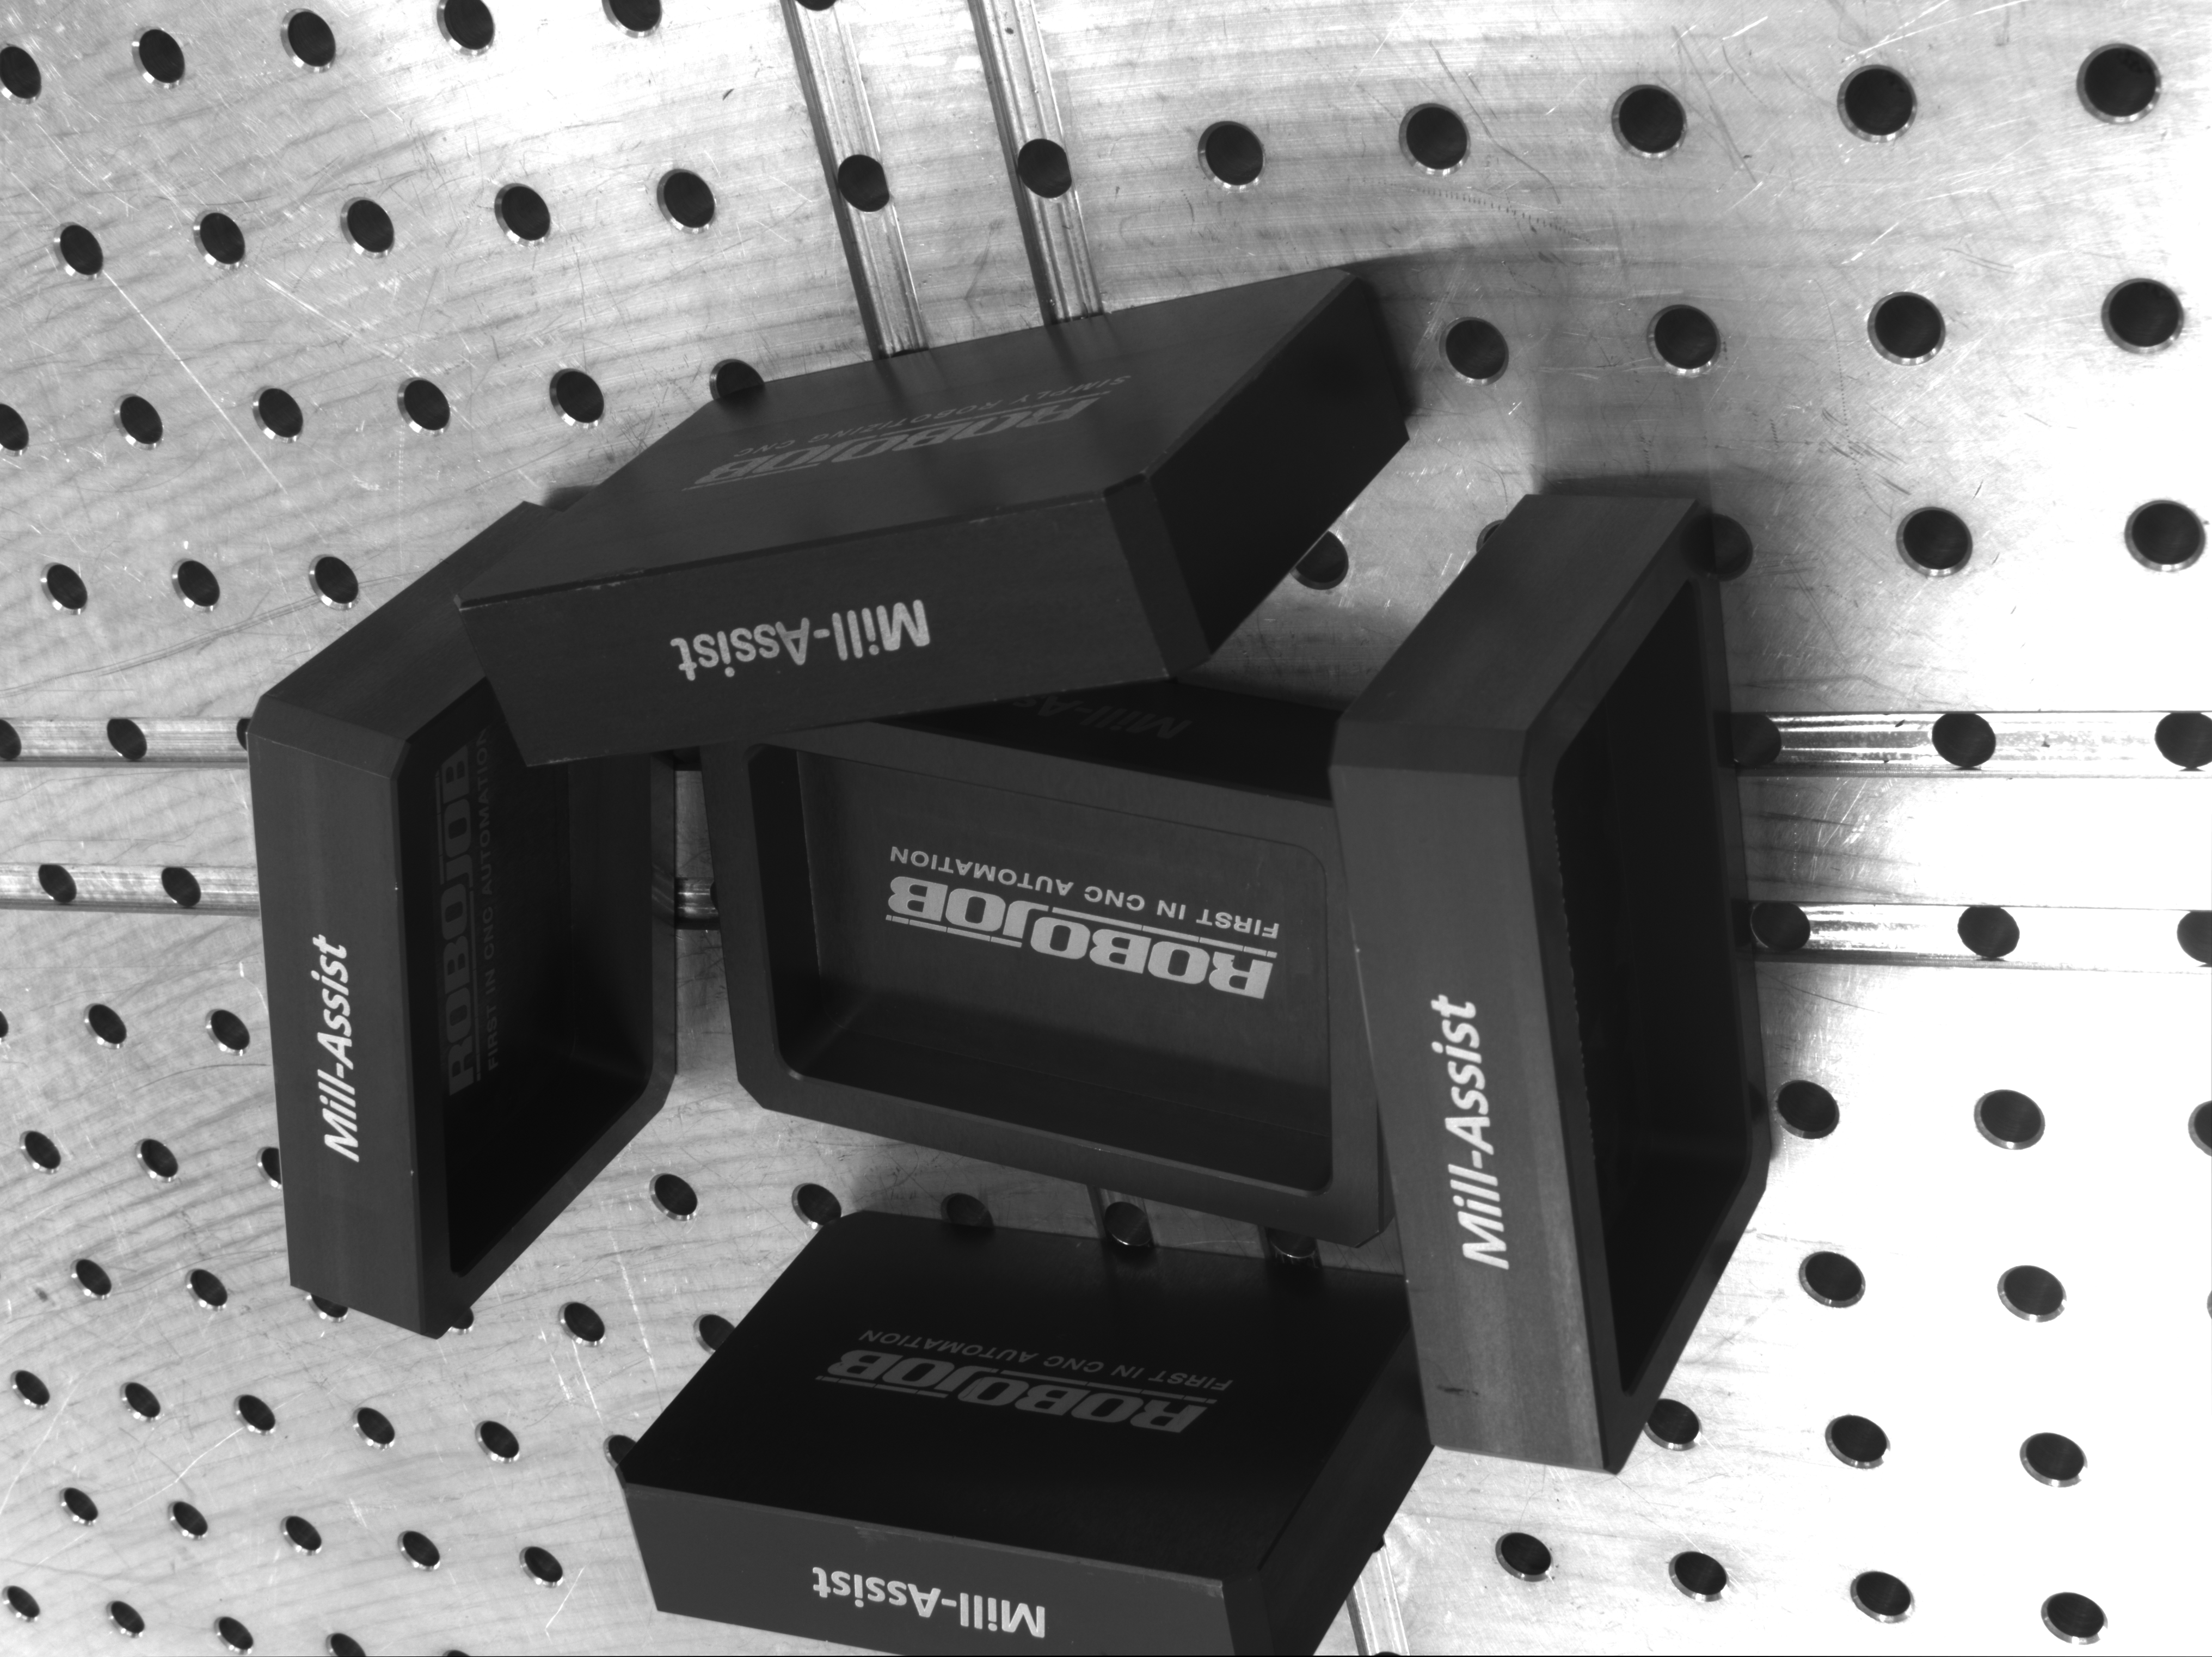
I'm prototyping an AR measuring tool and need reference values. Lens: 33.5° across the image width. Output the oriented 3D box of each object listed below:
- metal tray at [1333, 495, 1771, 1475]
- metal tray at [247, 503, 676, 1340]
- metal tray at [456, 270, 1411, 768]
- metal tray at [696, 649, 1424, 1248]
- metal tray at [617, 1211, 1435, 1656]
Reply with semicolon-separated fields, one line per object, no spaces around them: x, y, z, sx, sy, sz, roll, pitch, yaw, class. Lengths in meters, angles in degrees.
0.074;0.024;0.579;0.030;0.090;0.130;4;120;26;metal tray
-0.115;0.017;0.677;0.030;0.090;0.130;17;125;19;metal tray
-0.028;-0.049;0.588;0.130;0.090;0.030;-6;115;31;metal tray
-0.006;0.018;0.657;0.130;0.030;0.090;11;123;22;metal tray
-0.012;0.114;0.681;0.130;0.090;0.030;4;120;27;metal tray
